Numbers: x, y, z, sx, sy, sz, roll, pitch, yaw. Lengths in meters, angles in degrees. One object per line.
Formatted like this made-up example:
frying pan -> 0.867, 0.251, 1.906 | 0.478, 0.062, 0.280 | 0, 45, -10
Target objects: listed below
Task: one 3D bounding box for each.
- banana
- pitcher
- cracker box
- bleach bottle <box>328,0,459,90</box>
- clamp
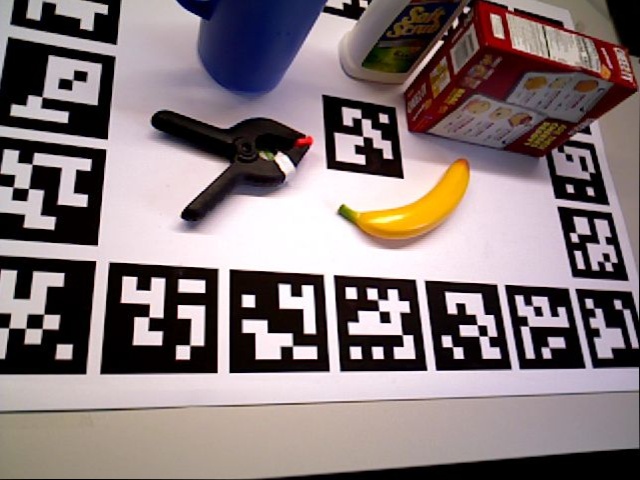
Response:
banana -> 0.117, -0.044, 0.644 | 0.193, 0.039, 0.074 | -33, 83, -29
pitcher -> -0.061, -0.255, 0.503 | 0.185, 0.248, 0.133 | -15, 74, -30
cracker box -> 0.240, -0.182, 0.649 | 0.211, 0.168, 0.071 | 5, 64, -18
bleach bottle -> 0.101, -0.272, 0.598 | 0.101, 0.256, 0.067 | 4, 66, -21
clamp -> -0.085, -0.084, 0.570 | 0.162, 0.037, 0.121 | -13, 73, -28
